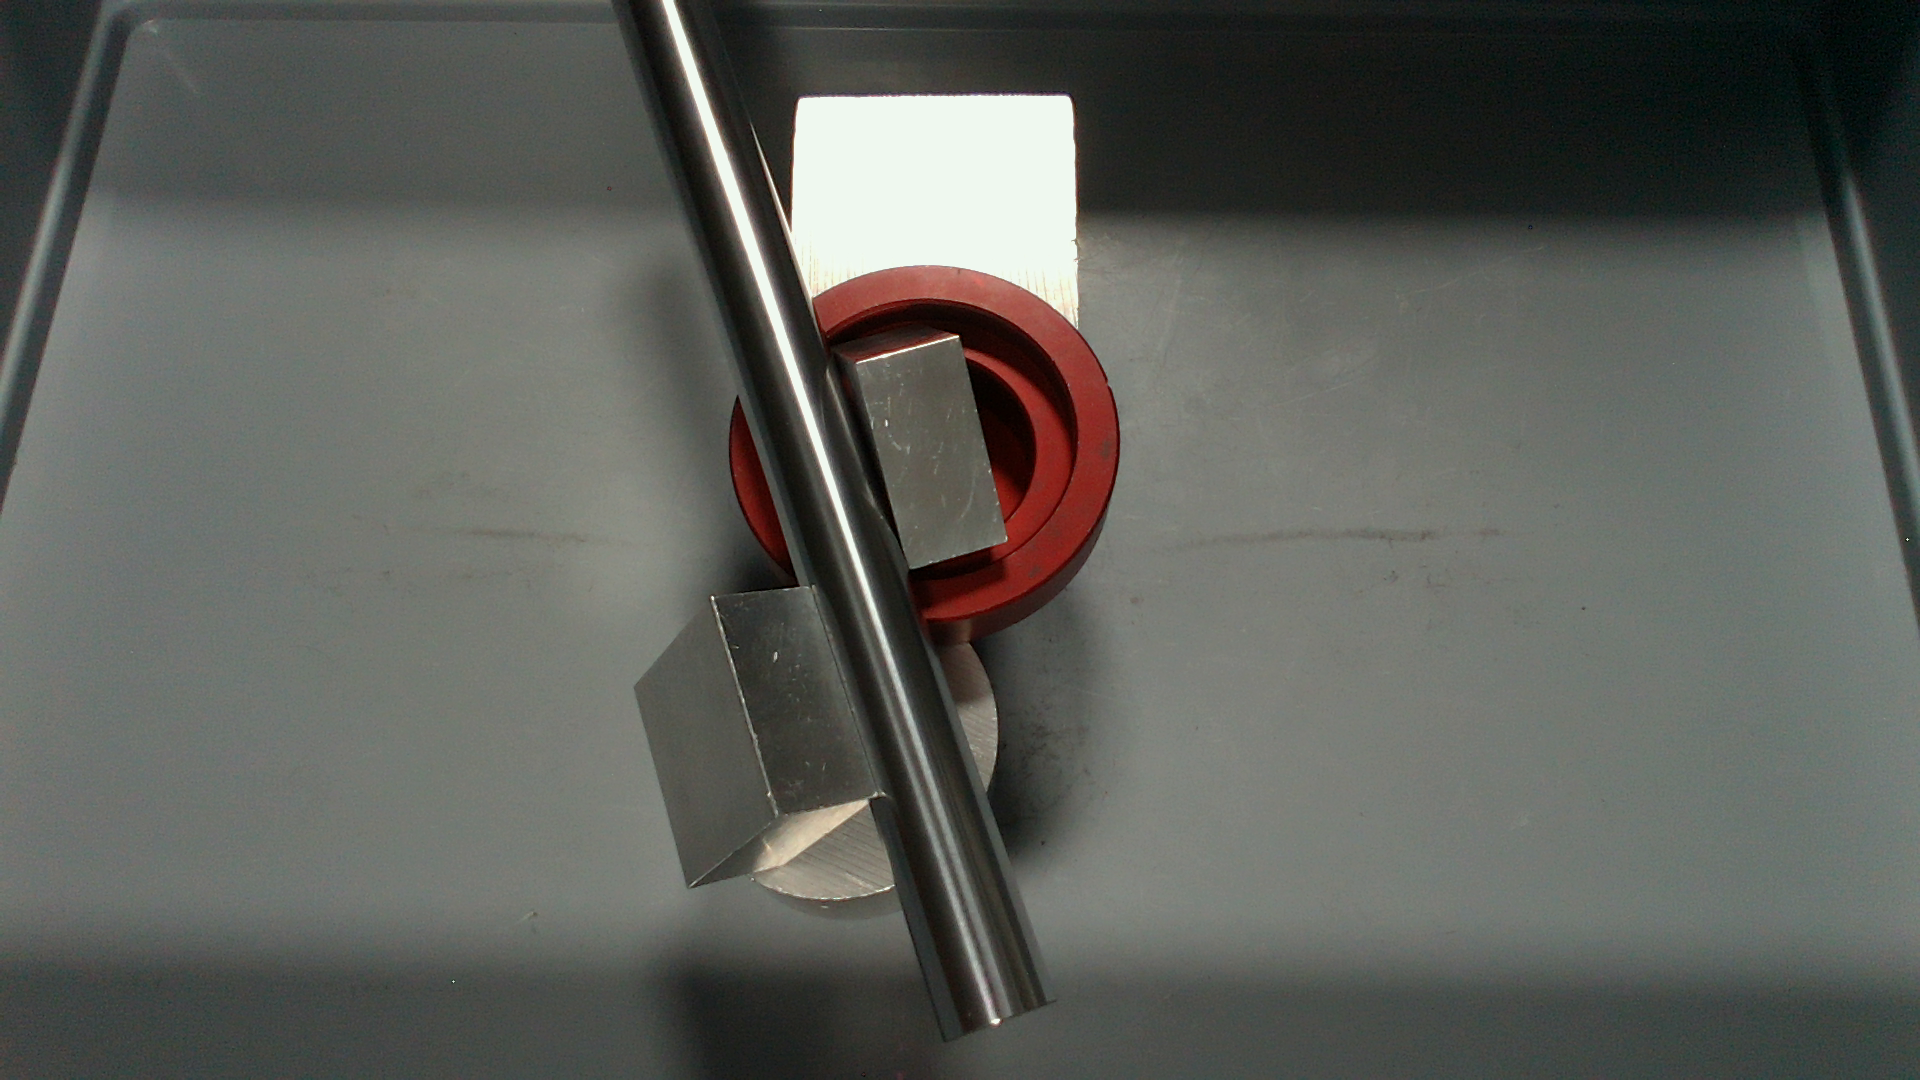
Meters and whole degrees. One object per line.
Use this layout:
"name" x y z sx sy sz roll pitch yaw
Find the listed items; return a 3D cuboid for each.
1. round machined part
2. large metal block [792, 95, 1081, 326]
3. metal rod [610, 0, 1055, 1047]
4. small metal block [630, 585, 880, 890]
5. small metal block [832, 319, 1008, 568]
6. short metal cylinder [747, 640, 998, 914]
"round machined part" -0.008 -0.020 0.361 0.098 0.042 0.098 0 70 0
"large metal block" -0.007 -0.083 0.409 0.080 0.050 0.080 0 70 0
"metal rod" -0.041 -0.033 0.331 0.025 0.025 0.300 -18 71 -6
"small metal block" -0.048 0.044 0.308 0.025 0.050 0.050 -4 65 -37
"small metal block" -0.012 -0.025 0.338 0.025 0.050 0.050 -16 105 -9
"short metal cylinder" -0.031 0.056 0.360 0.080 0.050 0.080 0 70 0
